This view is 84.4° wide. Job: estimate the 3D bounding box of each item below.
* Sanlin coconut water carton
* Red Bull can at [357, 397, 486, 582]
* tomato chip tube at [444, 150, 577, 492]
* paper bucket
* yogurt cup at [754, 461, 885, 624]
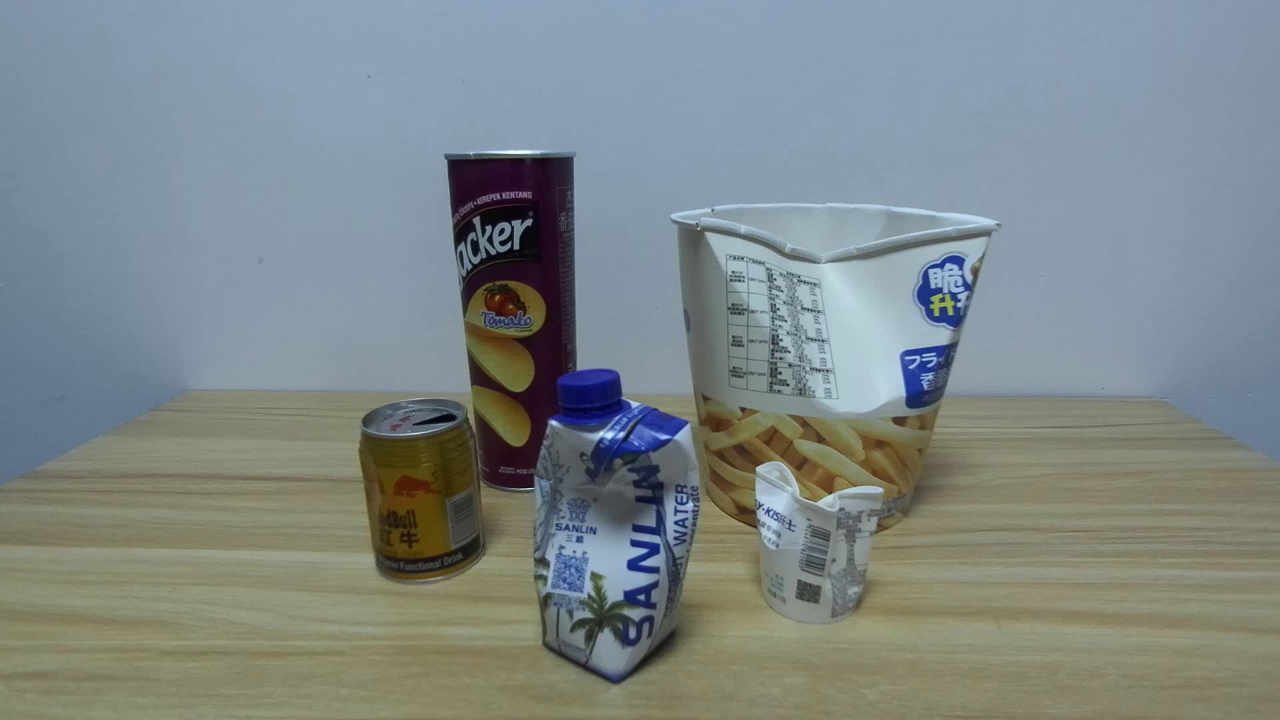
[{"bbox_3d":[-0.013,0.079,0.327,0.068,0.145,0.057,19,31,31],"label":"Sanlin coconut water carton"},{"bbox_3d":[-0.129,0.076,0.420,0.068,0.093,0.068,0,17,0],"label":"Red Bull can"},{"bbox_3d":[-0.084,-0.027,0.505,0.080,0.234,0.077,12,20,38],"label":"tomato chip tube"},{"bbox_3d":[0.108,0.000,0.477,0.163,0.202,0.168,-11,18,-27],"label":"paper bucket"},{"bbox_3d":[0.091,0.096,0.378,0.055,0.072,0.054,-13,23,-26],"label":"yogurt cup"}]
